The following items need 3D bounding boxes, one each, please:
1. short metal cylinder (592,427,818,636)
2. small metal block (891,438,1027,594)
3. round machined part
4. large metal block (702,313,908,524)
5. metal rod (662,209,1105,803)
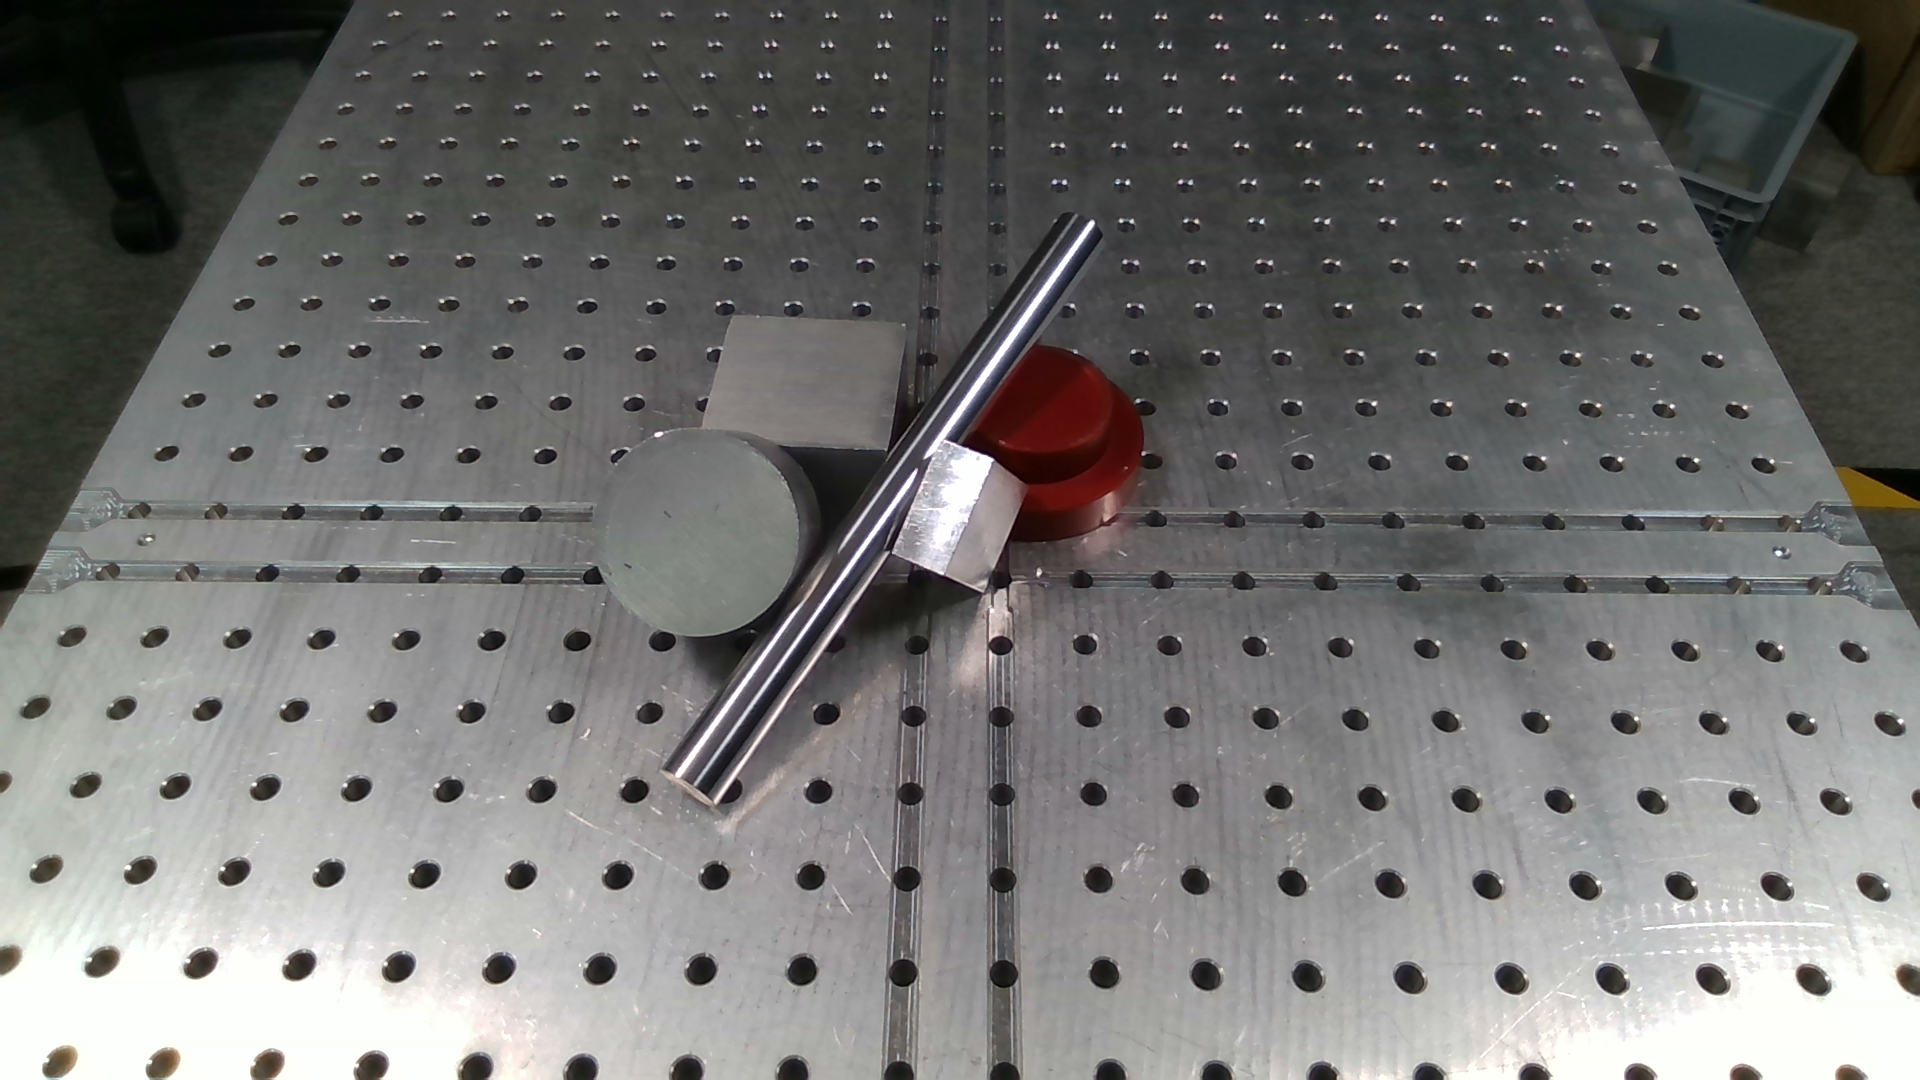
[{"bbox_3d":[-0.100,-0.005,0.550,0.080,0.050,0.080,0,95,3],"label":"short metal cylinder"},{"bbox_3d":[0.001,-0.009,0.569,0.025,0.050,0.050,22,88,21],"label":"small metal block"},{"bbox_3d":[0.034,-0.050,0.621,0.098,0.042,0.098,0,50,0],"label":"round machined part"},{"bbox_3d":[-0.067,-0.054,0.616,0.080,0.050,0.080,4,50,3],"label":"large metal block"},{"bbox_3d":[-0.023,-0.024,0.568,0.025,0.025,0.299,26,67,20],"label":"metal rod"}]
